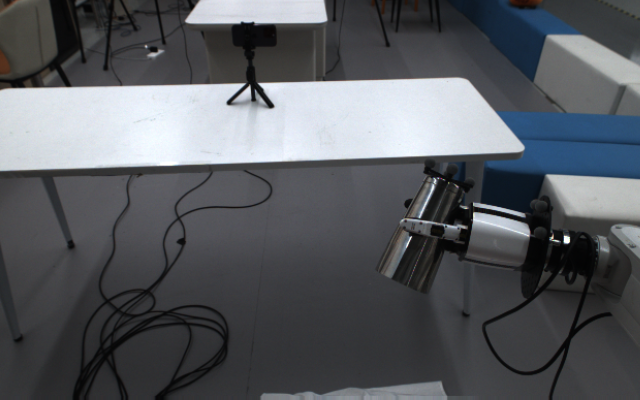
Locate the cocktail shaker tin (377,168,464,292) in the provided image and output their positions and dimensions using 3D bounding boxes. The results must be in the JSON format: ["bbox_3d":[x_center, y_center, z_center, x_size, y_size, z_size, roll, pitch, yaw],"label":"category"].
[{"bbox_3d":[0.166,0.048,0.766,0.093,0.170,0.093,23,0,0],"label":"cocktail shaker tin"}]
